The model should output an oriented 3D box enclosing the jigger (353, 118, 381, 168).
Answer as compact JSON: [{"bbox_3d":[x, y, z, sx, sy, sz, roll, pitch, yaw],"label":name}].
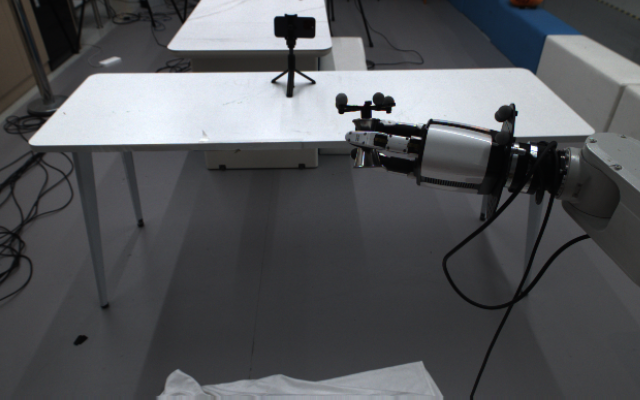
[{"bbox_3d":[0.066,-0.081,0.692,0.043,0.071,0.043,-2,3,0],"label":"jigger"}]
